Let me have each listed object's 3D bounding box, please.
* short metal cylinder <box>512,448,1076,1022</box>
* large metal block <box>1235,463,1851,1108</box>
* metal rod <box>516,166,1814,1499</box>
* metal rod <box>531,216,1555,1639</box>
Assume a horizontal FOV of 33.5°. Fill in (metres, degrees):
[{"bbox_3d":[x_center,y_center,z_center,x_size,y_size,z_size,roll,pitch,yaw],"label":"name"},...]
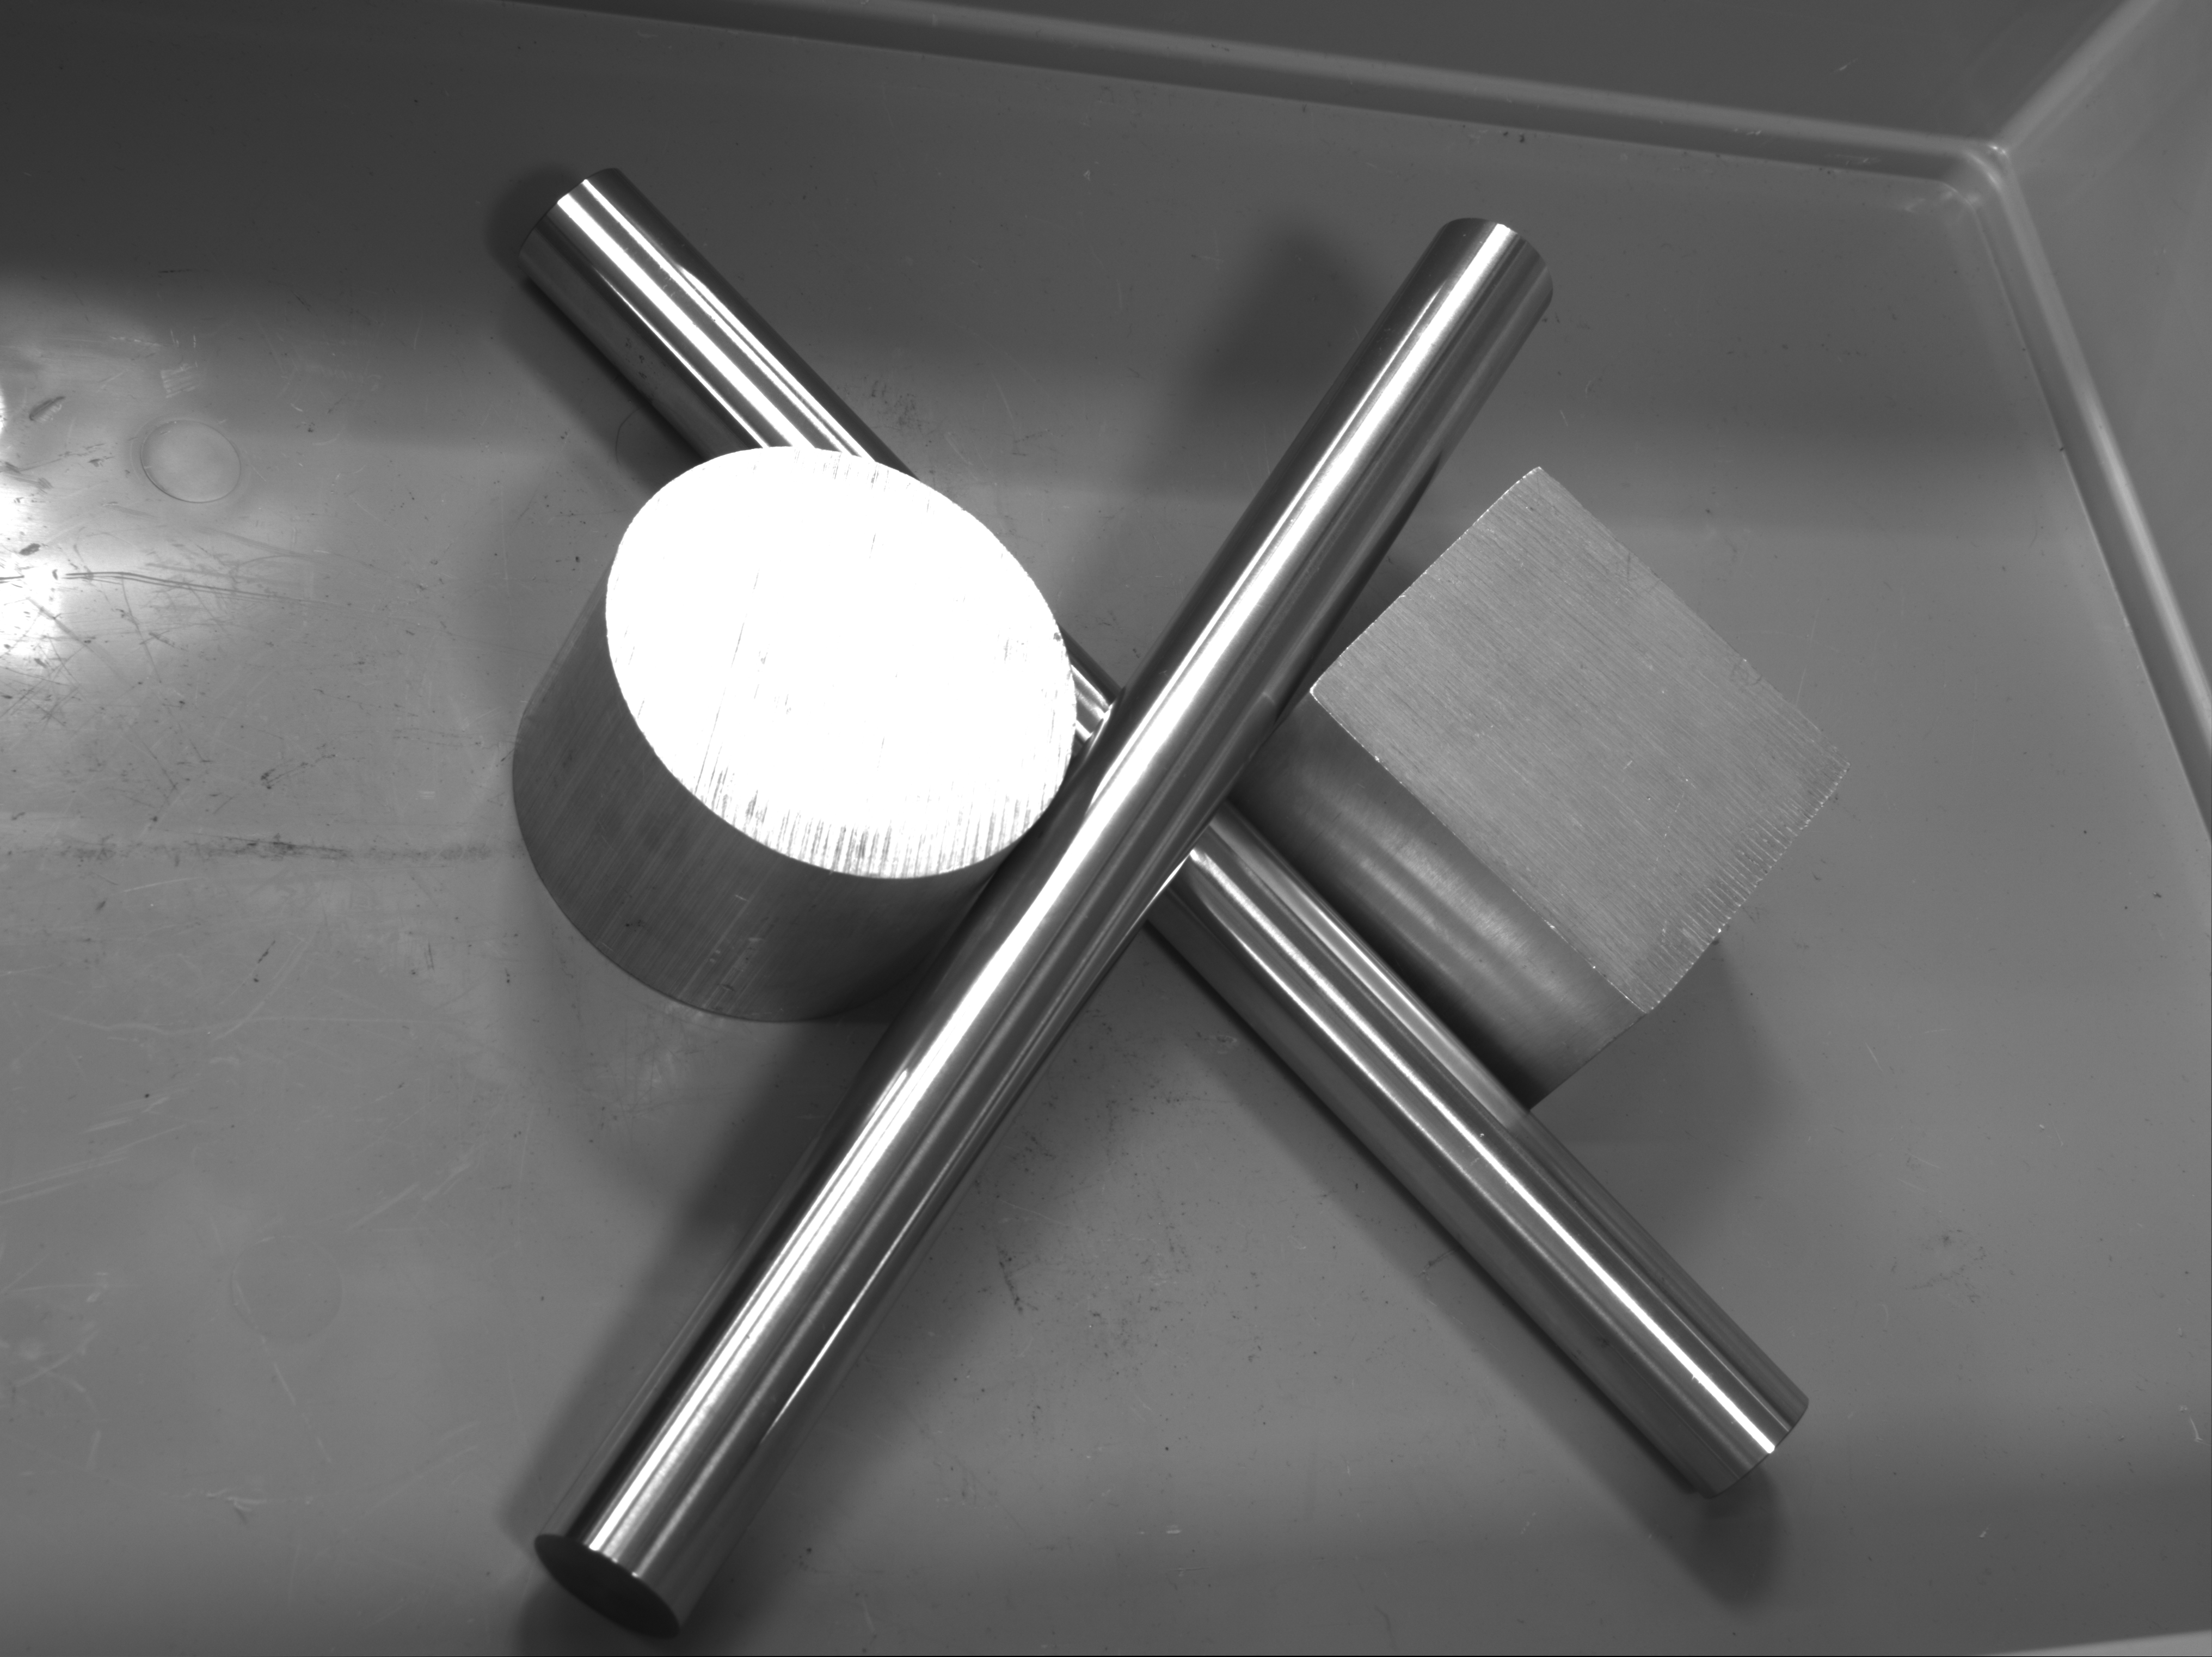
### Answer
[{"bbox_3d":[-0.052,-0.015,0.604,0.080,0.050,0.080,13,56,-21],"label":"short metal cylinder"},{"bbox_3d":[0.074,-0.005,0.664,0.080,0.050,0.080,44,51,2],"label":"large metal block"},{"bbox_3d":[0.009,-0.001,0.642,0.300,0.025,0.025,46,51,4],"label":"metal rod"},{"bbox_3d":[0.000,0.003,0.609,0.025,0.025,0.300,36,59,-4],"label":"metal rod"}]
